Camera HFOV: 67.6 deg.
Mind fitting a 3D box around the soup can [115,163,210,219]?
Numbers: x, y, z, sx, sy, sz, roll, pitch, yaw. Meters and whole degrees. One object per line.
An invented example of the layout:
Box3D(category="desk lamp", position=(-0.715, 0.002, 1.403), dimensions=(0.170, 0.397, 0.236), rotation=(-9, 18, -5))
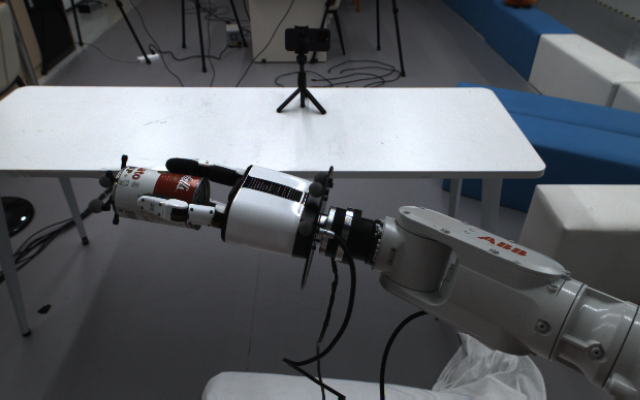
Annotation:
Box3D(category="soup can", position=(-0.197, -0.002, 0.611), dimensions=(0.101, 0.067, 0.067), rotation=(9, 35, 2))
